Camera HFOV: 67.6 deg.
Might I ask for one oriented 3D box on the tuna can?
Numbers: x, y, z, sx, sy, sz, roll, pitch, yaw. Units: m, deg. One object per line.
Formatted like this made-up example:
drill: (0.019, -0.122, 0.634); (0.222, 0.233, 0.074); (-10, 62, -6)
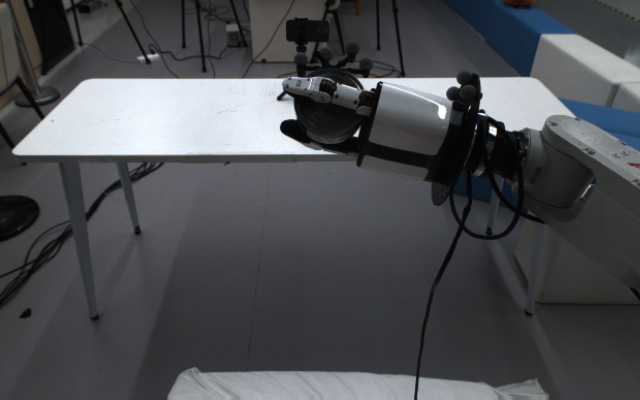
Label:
tuna can: (0.013, -0.113, 0.578); (0.085, 0.034, 0.085); (0, 75, 0)
